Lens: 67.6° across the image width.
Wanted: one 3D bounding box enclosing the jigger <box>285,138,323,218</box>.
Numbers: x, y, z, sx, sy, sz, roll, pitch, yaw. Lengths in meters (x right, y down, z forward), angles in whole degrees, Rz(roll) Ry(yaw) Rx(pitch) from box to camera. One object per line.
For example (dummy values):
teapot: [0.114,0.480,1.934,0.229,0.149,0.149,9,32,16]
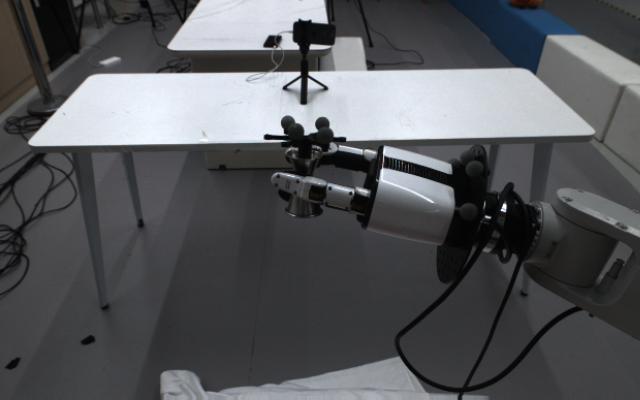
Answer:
jigger: [-0.018,-0.020,0.550,0.043,0.071,0.043,1,20,0]
